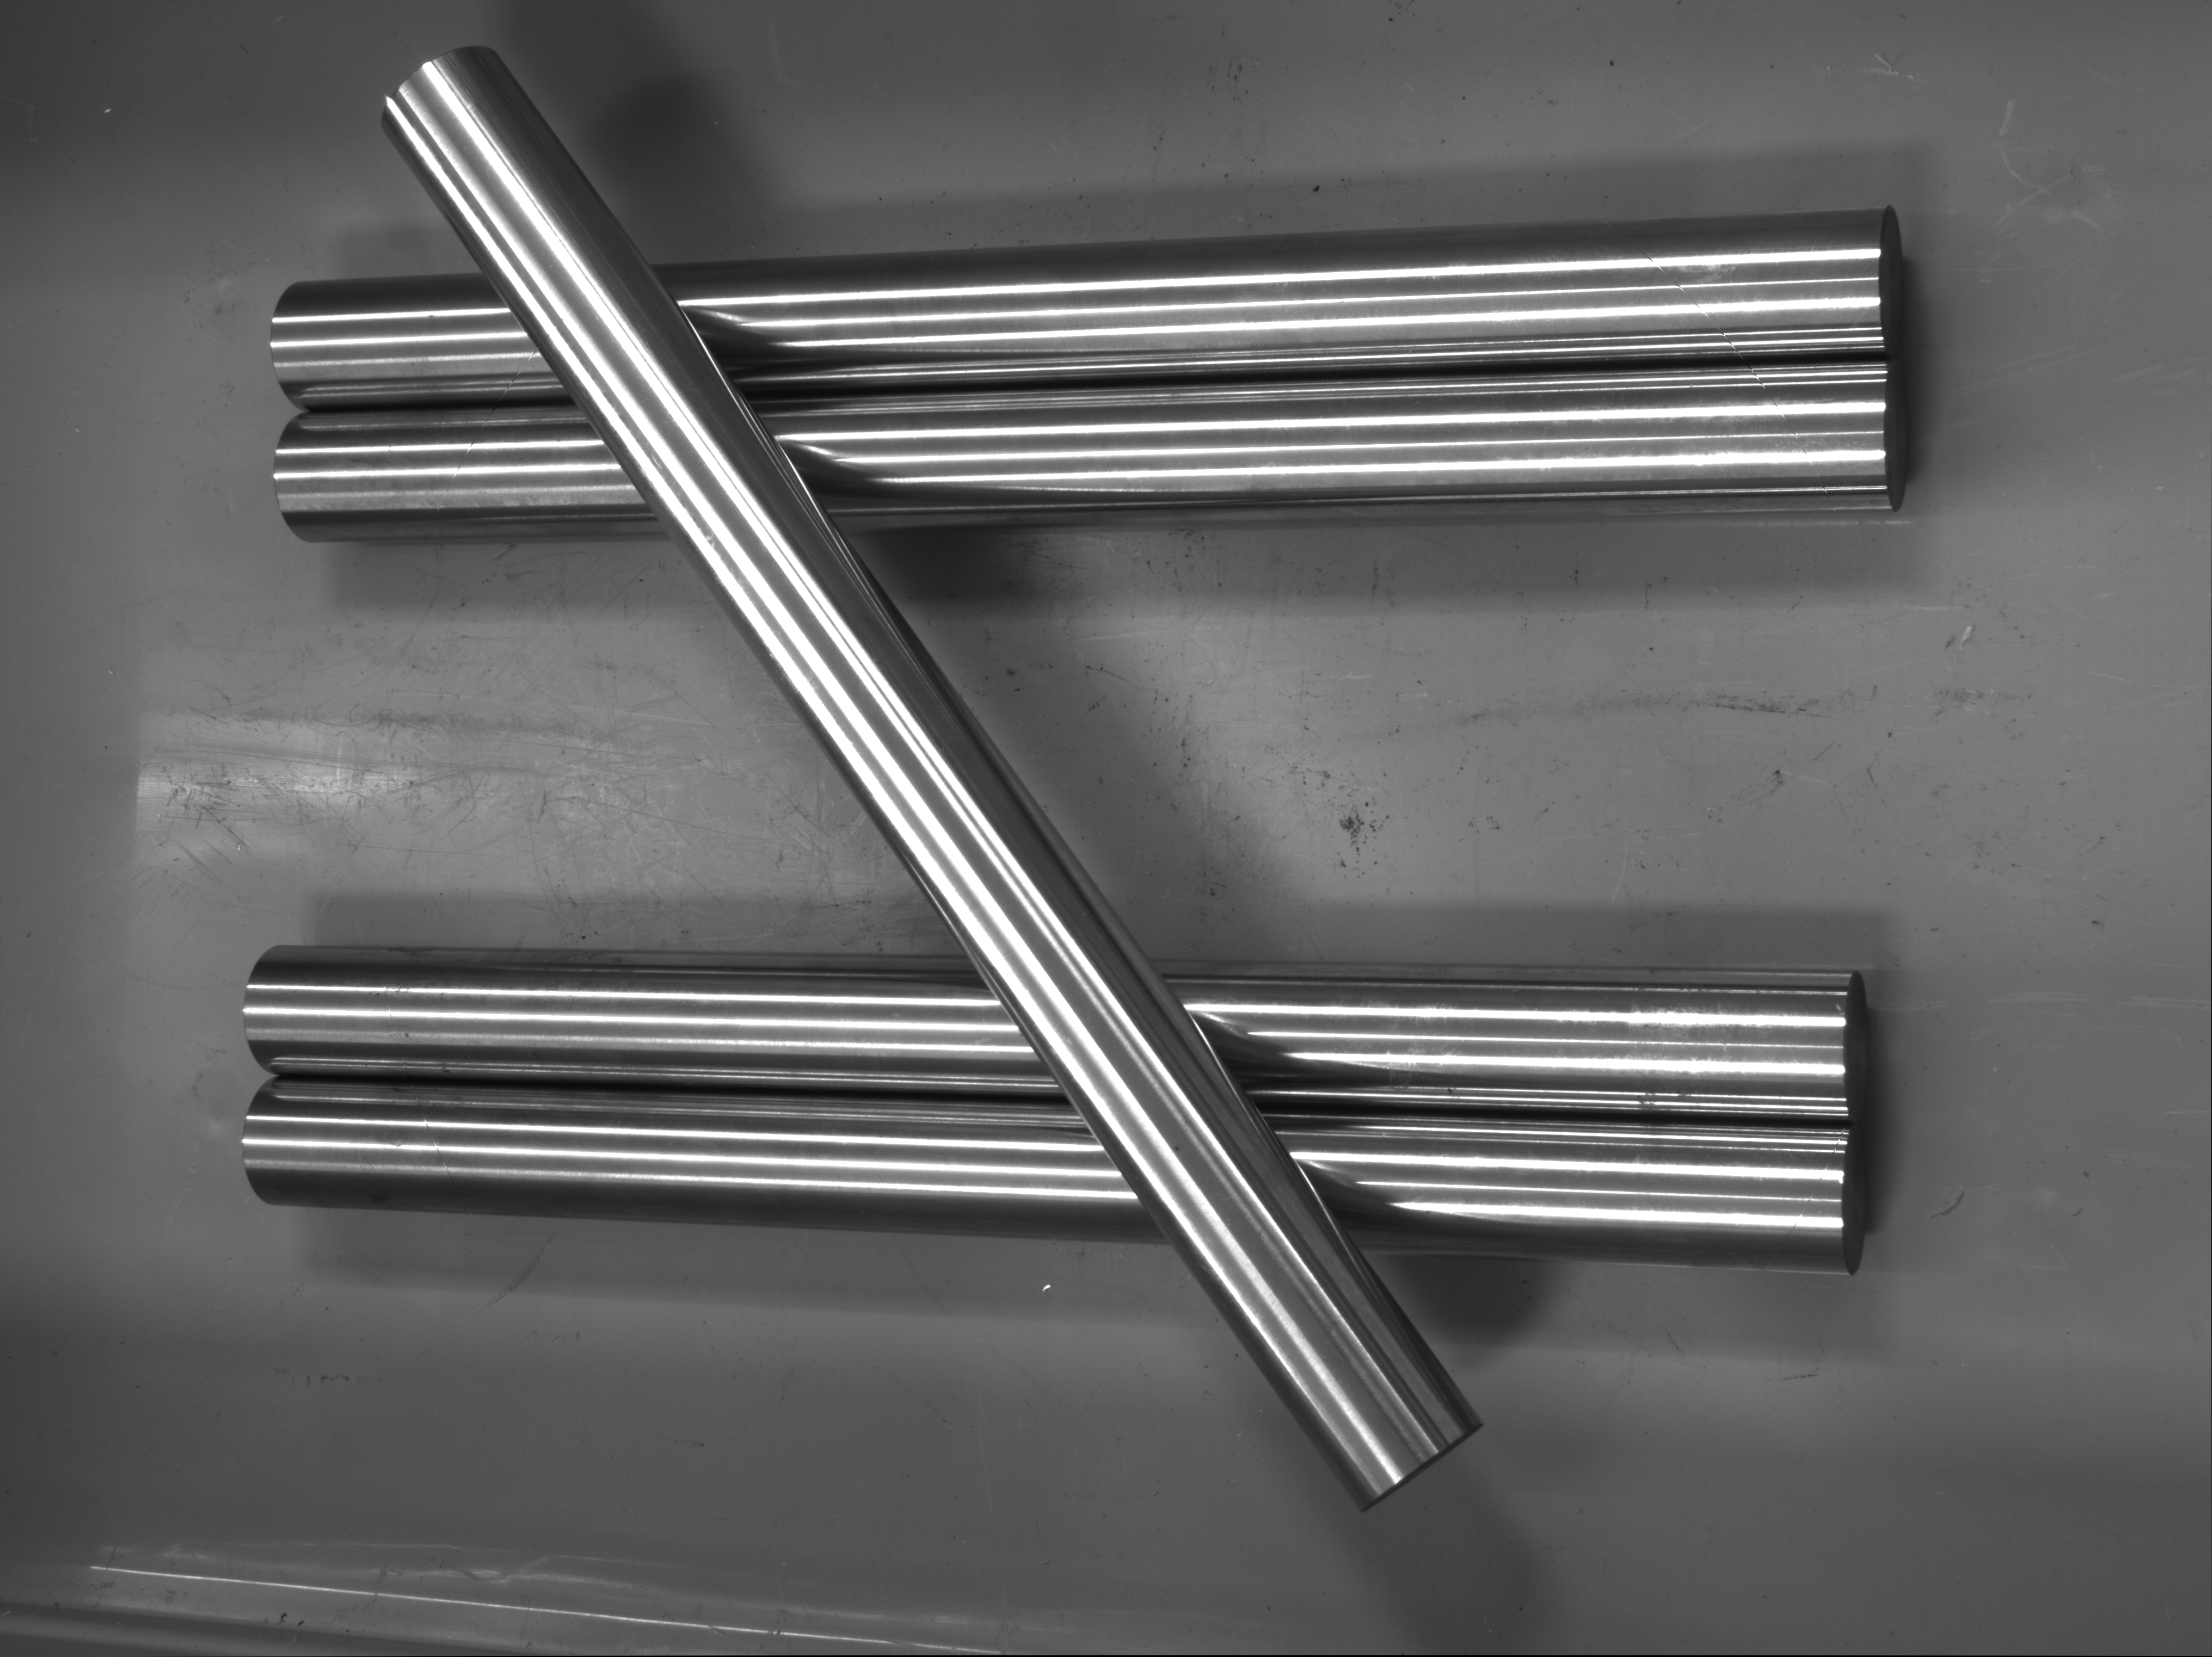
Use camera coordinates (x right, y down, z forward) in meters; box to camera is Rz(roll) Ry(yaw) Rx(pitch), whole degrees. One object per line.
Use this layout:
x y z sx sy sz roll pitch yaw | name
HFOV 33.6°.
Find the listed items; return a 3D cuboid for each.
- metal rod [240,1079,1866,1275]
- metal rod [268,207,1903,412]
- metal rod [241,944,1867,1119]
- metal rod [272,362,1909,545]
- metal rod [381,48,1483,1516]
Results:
-0.018 0.060 0.651 0.299 0.025 0.025 0 90 20 | metal rod
-0.012 -0.090 0.649 0.299 0.025 0.025 1 90 20 | metal rod
-0.018 0.035 0.651 0.299 0.025 0.025 0 90 20 | metal rod
-0.011 -0.065 0.649 0.299 0.025 0.025 1 90 20 | metal rod
-0.034 -0.014 0.631 0.025 0.025 0.300 -39 77 16 | metal rod
